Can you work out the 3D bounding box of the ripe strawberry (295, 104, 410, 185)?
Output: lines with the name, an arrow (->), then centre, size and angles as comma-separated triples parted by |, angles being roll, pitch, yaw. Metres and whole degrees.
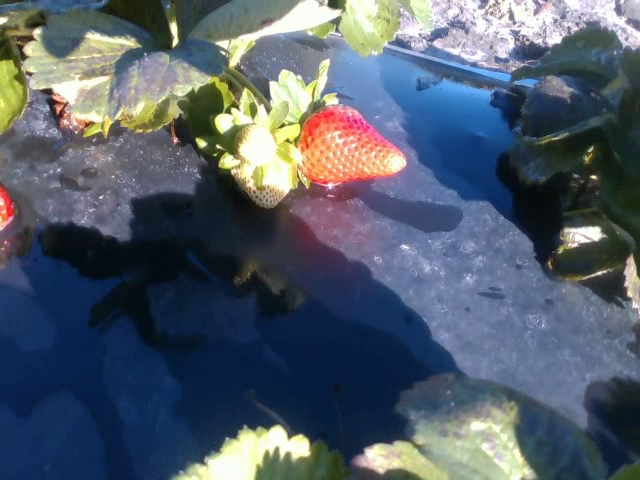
ripe strawberry -> 0.017, -0.045, 0.311 | 0.064, 0.050, 0.052 | 20, -9, 19
